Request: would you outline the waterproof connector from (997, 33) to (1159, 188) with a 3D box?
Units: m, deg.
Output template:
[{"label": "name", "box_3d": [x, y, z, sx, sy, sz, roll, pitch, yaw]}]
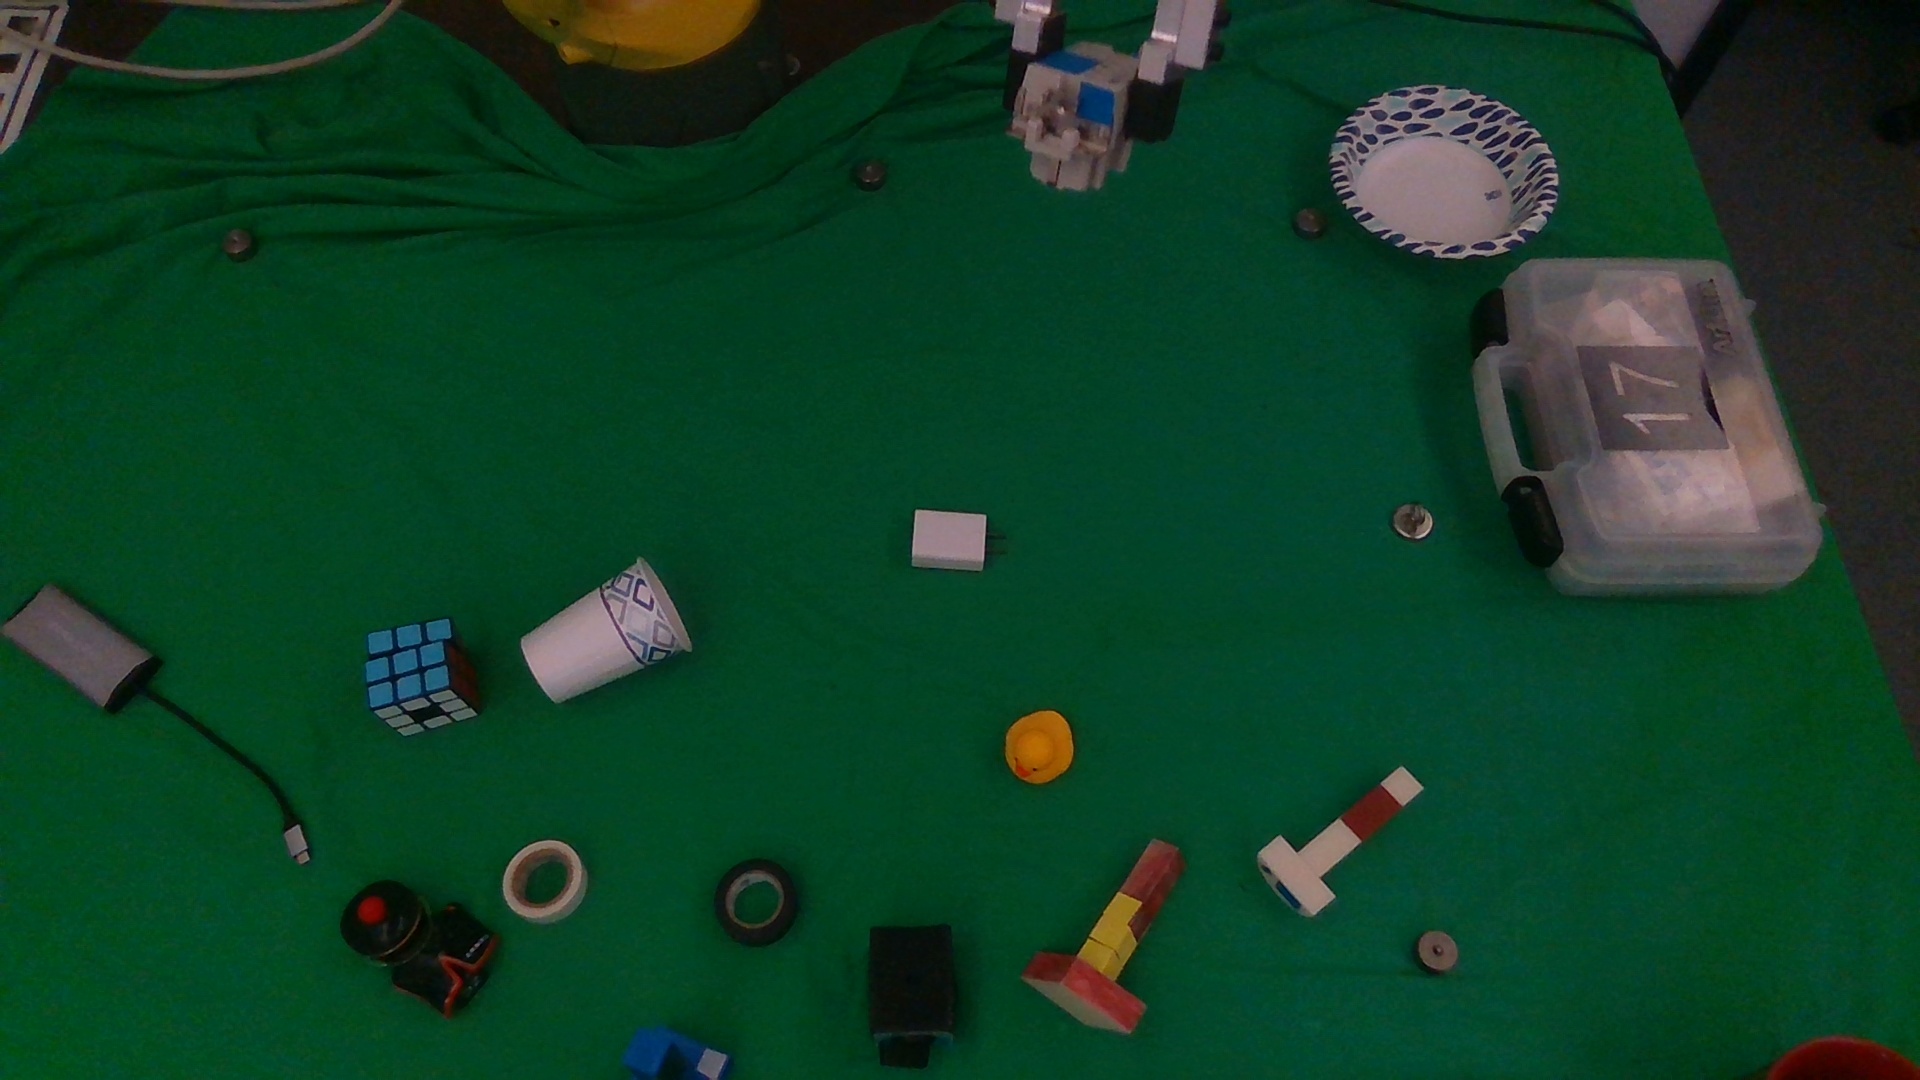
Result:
[{"label": "waterproof connector", "box_3d": [0.040, -0.141, 0.456, 0.035, 0.037, 0.065, 23, 41, 17]}]

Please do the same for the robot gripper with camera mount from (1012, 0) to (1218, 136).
[{"label": "robot gripper with camera mount", "box_3d": [0.084, -0.242, 0.475, 0.119, 0.158, 0.193, 20, 37, 20]}]
